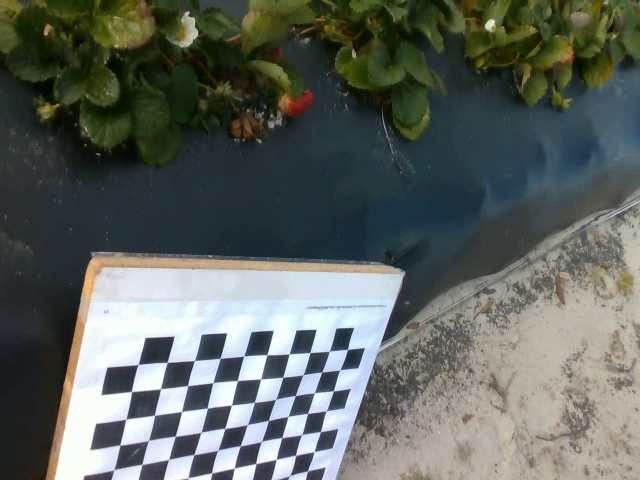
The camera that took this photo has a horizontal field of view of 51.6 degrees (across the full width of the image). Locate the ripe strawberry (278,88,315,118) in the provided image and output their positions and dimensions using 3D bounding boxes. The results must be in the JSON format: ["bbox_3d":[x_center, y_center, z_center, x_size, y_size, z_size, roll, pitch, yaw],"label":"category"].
[{"bbox_3d":[-0.017,-0.089,0.404,0.027,0.022,0.021,-16,43,-17],"label":"ripe strawberry"}]
